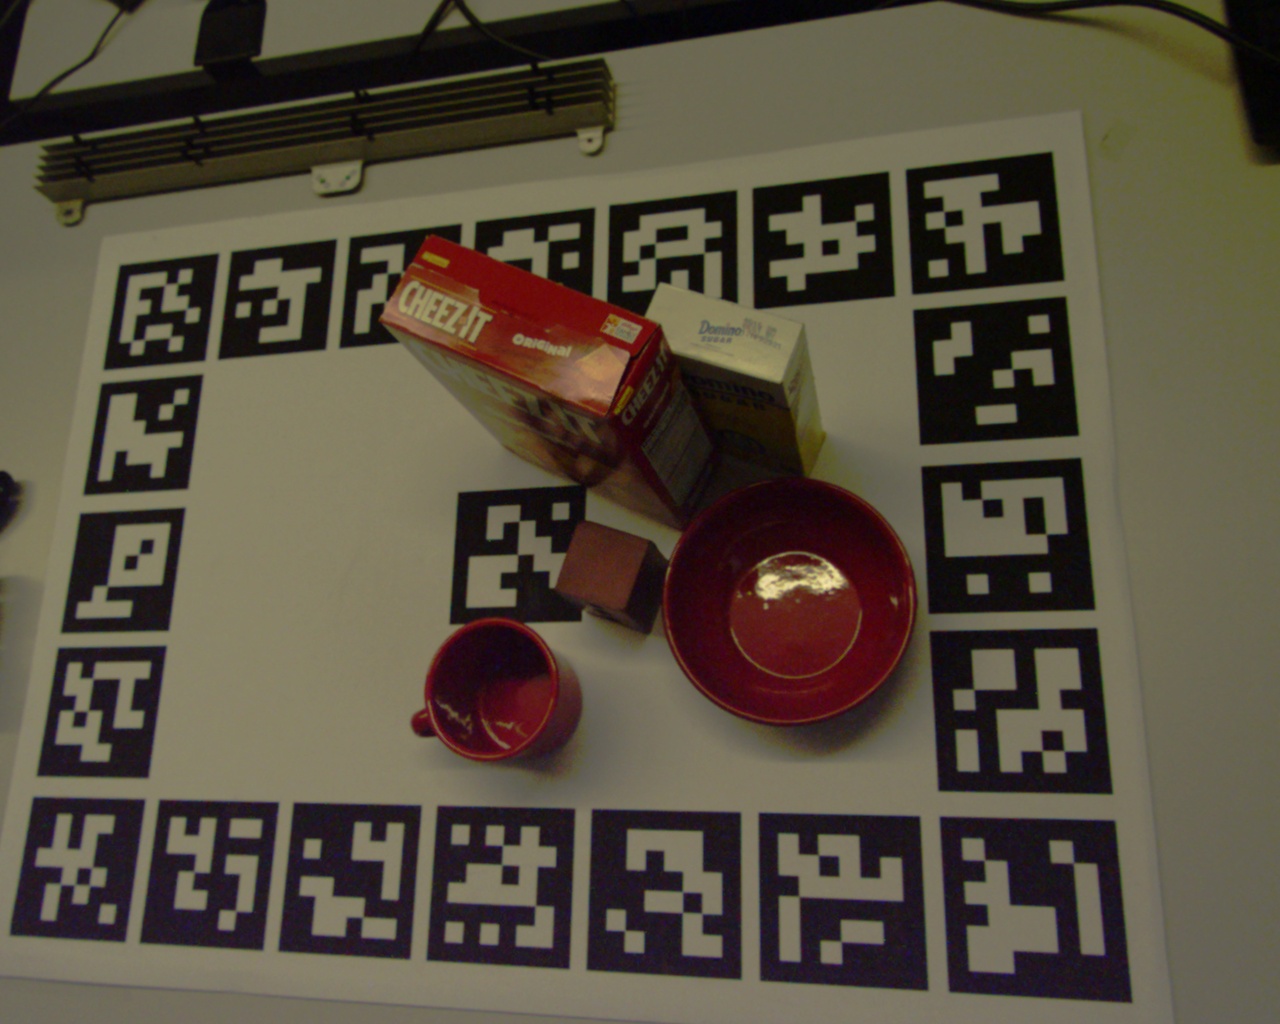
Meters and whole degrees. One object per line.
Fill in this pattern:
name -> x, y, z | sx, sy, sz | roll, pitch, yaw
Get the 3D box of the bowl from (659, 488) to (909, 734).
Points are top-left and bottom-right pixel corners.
bowl -> 0.097, 0.068, 0.760 | 0.163, 0.055, 0.162 | -4, 74, 14

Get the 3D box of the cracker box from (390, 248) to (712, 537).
cracker box -> -0.052, -0.070, 0.770 | 0.166, 0.212, 0.072 | 27, 80, 20

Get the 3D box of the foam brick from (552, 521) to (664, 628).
foam brick -> -0.021, 0.046, 0.804 | 0.053, 0.077, 0.051 | 13, 77, 19

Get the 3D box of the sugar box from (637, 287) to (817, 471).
sugar box -> 0.060, -0.084, 0.762 | 0.094, 0.175, 0.045 | 19, 80, 19

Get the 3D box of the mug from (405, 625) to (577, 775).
mug -> -0.105, 0.137, 0.790 | 0.118, 0.080, 0.093 | -12, 63, 13
